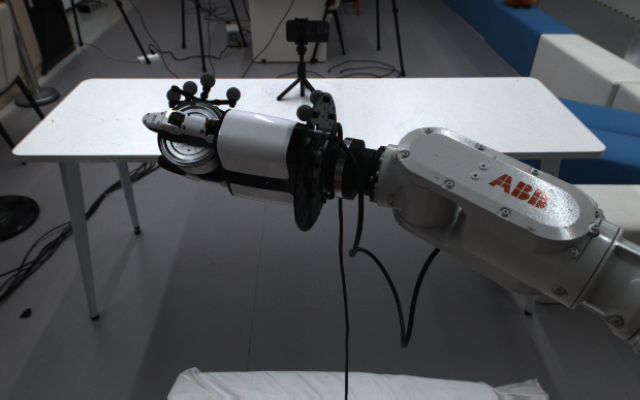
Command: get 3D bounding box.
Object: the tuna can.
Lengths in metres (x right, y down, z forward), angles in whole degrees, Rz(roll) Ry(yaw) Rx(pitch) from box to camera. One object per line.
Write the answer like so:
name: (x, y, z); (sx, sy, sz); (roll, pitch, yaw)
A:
tuna can: (-0.150, -0.075, 0.592); (0.085, 0.034, 0.085); (-3, 73, 9)
